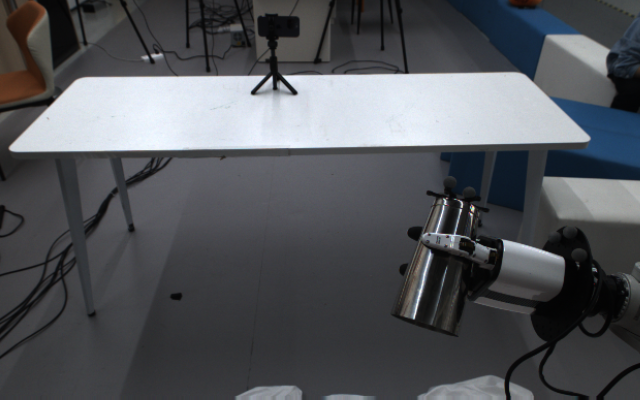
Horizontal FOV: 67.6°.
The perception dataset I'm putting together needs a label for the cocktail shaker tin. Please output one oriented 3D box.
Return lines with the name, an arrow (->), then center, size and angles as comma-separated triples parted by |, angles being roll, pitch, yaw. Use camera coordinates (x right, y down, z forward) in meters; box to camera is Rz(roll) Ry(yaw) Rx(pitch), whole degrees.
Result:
cocktail shaker tin -> 0.166, 0.087, 0.656 | 0.093, 0.093, 0.170 | 14, 75, 17
